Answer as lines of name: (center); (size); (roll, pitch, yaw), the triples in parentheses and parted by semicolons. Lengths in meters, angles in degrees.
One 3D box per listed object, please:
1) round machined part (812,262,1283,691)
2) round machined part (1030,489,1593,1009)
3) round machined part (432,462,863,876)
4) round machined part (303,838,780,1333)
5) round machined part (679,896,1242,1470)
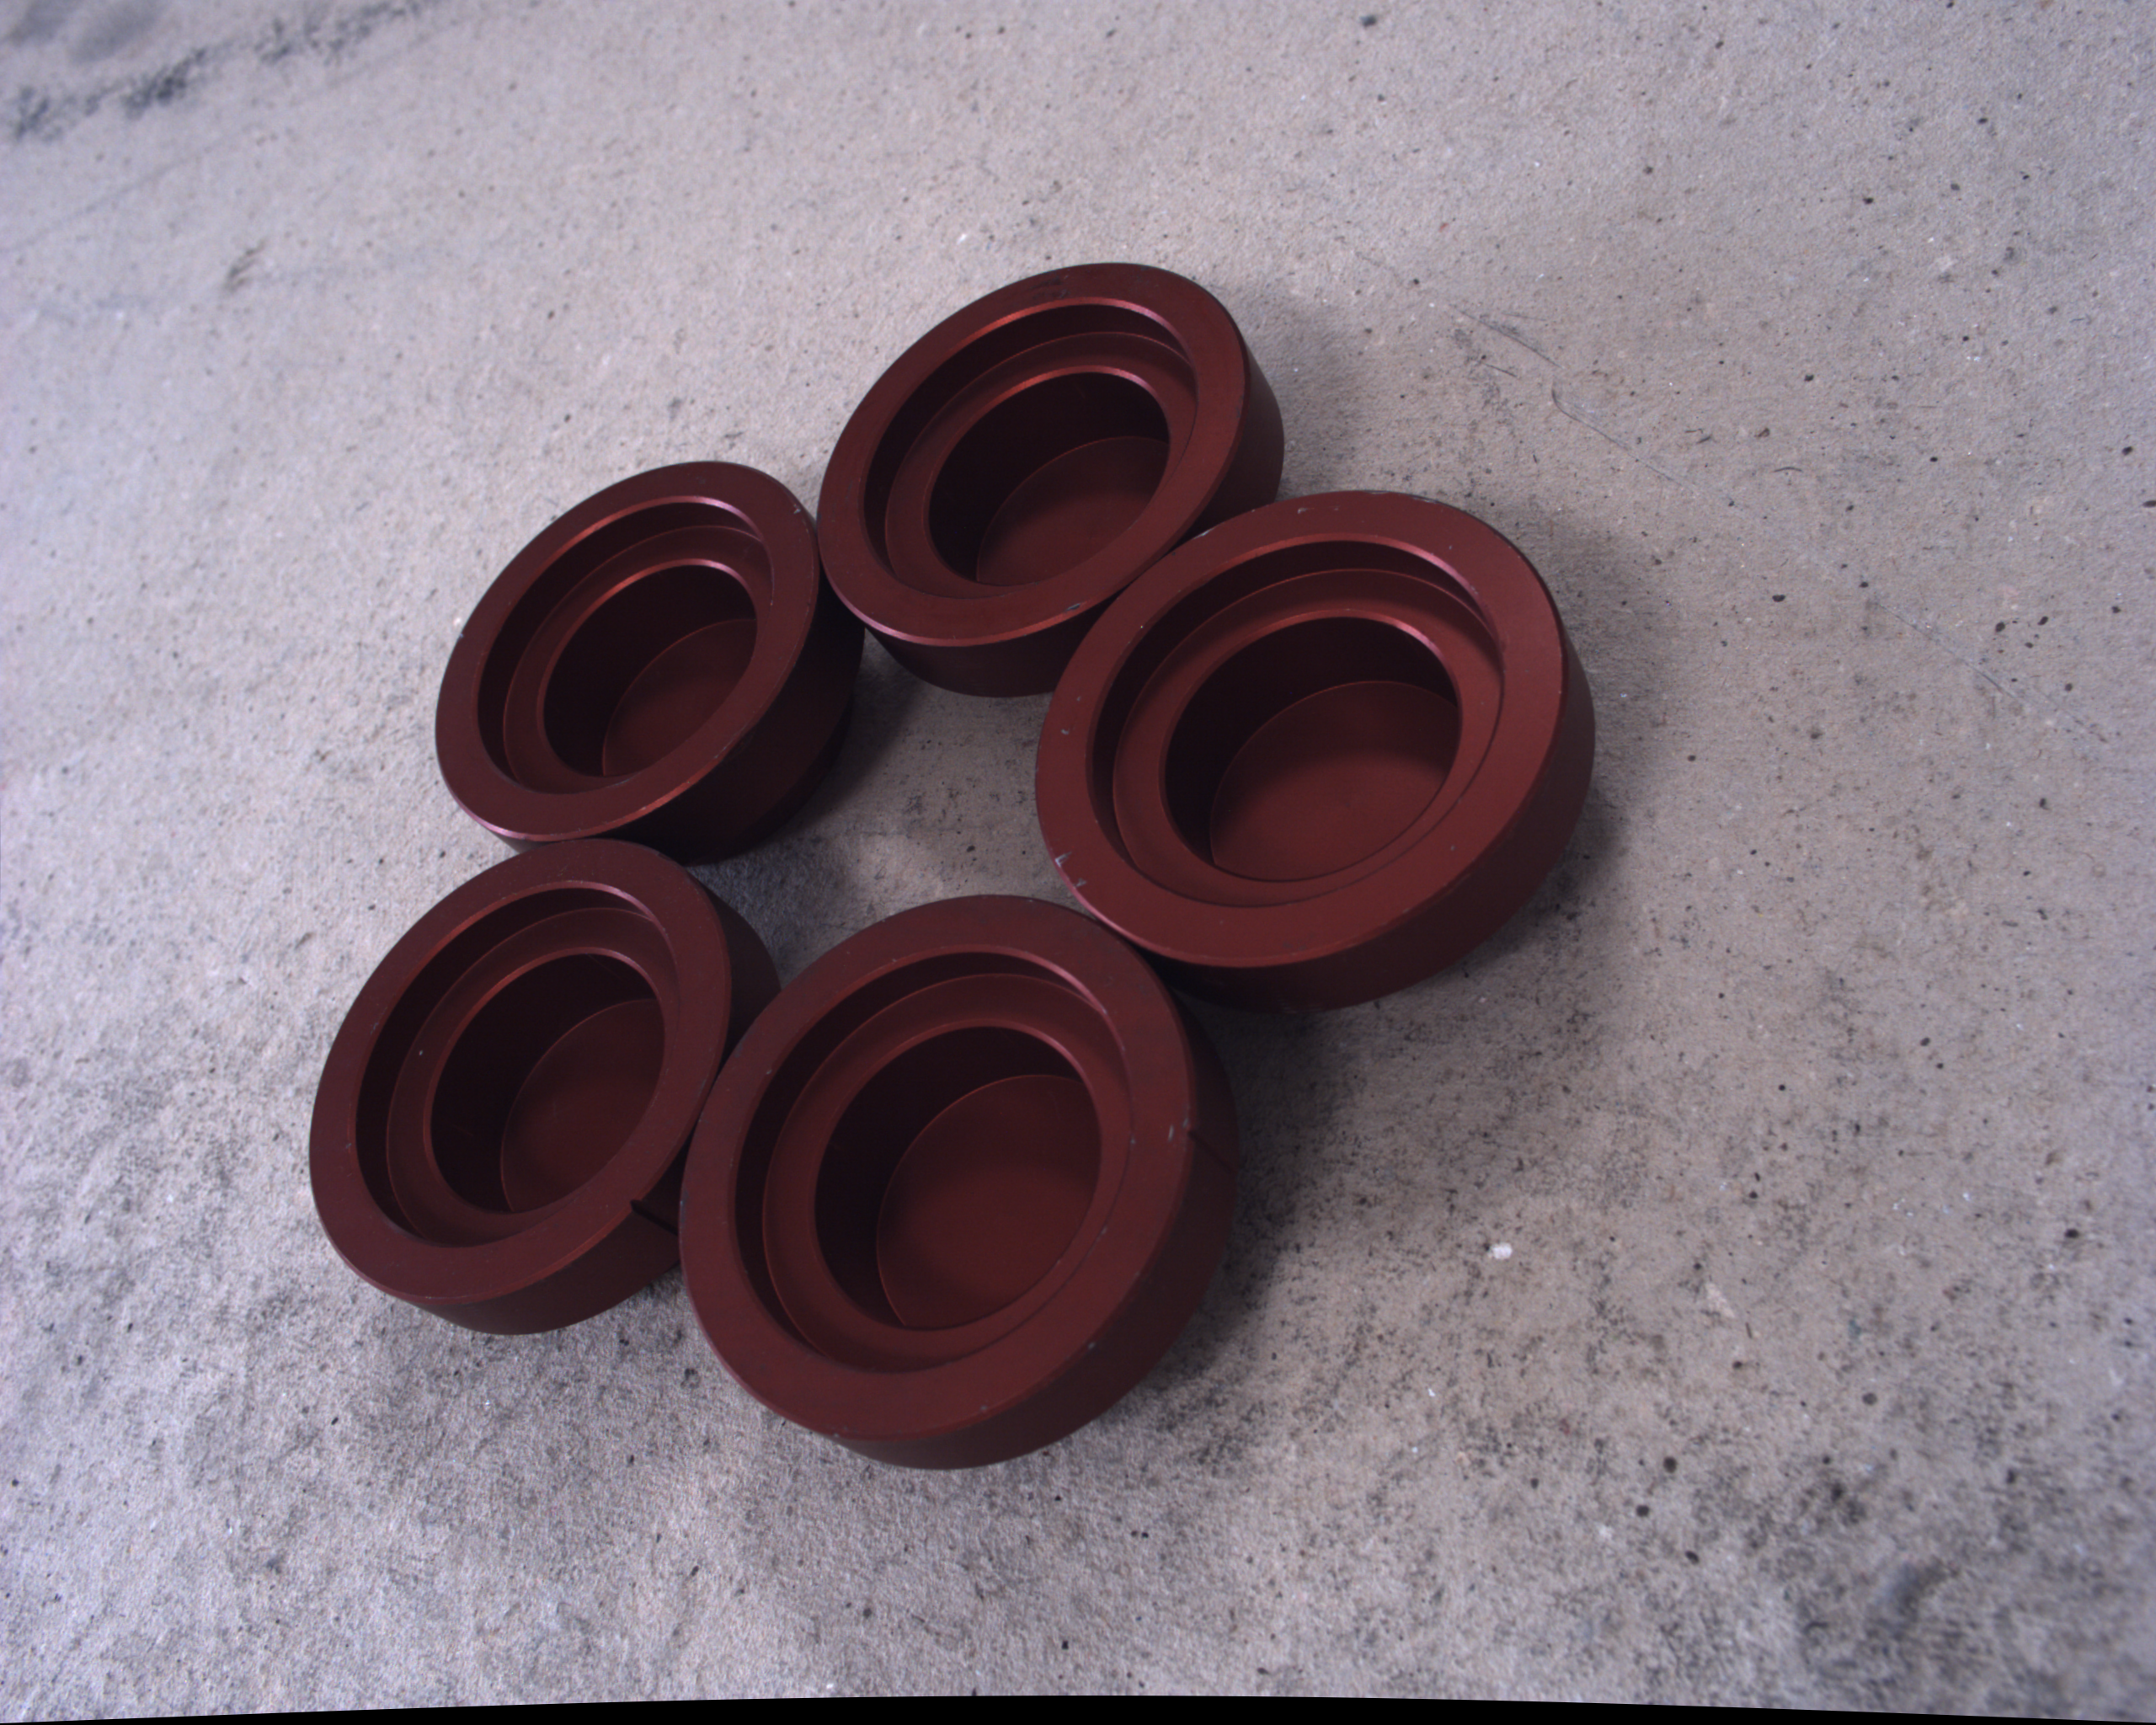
round machined part: (-0.003, -0.076, 0.442); (0.098, 0.042, 0.098); (-13, 55, 19)
round machined part: (0.045, -0.017, 0.380); (0.098, 0.042, 0.098); (-13, 55, 19)
round machined part: (-0.090, -0.038, 0.466); (0.098, 0.042, 0.098); (-13, 55, 20)
round machined part: (-0.101, 0.047, 0.418); (0.098, 0.042, 0.098); (-13, 55, 19)
round machined part: (-0.017, 0.058, 0.368); (0.098, 0.042, 0.098); (-13, 56, 20)
